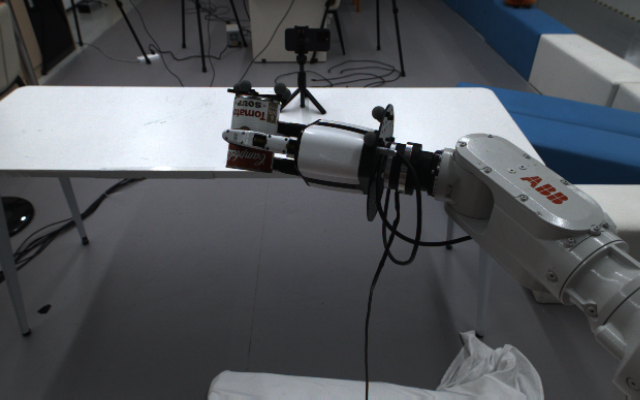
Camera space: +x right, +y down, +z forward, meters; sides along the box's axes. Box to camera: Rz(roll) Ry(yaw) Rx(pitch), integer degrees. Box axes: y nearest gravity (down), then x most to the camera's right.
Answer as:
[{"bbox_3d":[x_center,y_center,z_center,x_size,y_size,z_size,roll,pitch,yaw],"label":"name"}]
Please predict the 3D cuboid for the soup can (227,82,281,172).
[{"bbox_3d":[-0.095,-0.091,0.692,0.067,0.101,0.067,7,4,0],"label":"soup can"}]
